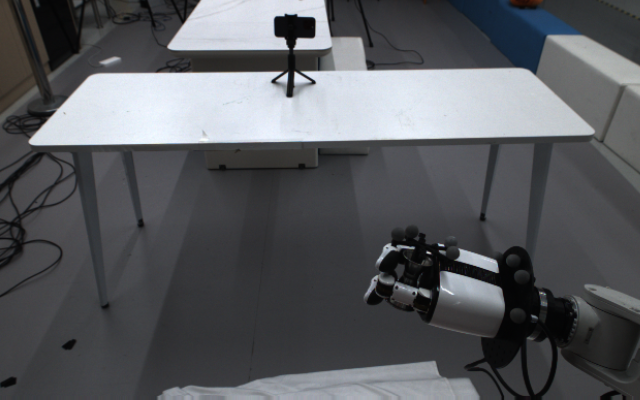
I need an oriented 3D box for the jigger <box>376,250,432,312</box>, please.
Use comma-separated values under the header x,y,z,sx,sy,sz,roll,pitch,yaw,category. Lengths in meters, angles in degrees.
x,y,z,sx,sy,sz,roll,pitch,yaw,category
0.119,0.104,0.634,0.043,0.071,0.043,15,16,-5,jigger
